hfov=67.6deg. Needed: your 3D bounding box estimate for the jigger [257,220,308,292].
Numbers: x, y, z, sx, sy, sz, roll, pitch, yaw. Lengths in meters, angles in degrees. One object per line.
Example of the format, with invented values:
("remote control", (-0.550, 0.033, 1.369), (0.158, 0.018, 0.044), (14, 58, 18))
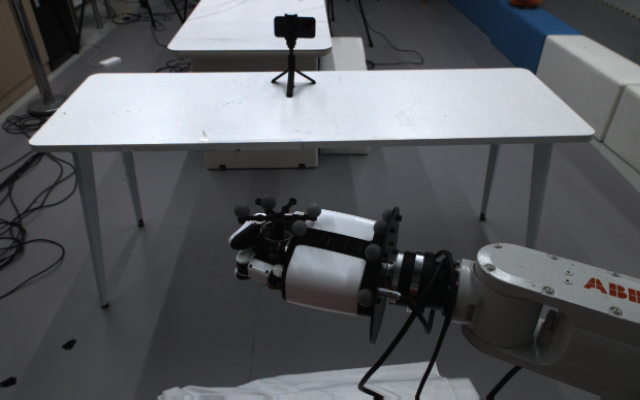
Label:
("jigger", (-0.047, 0.062, 0.582), (0.043, 0.071, 0.043), (4, 31, -2))
